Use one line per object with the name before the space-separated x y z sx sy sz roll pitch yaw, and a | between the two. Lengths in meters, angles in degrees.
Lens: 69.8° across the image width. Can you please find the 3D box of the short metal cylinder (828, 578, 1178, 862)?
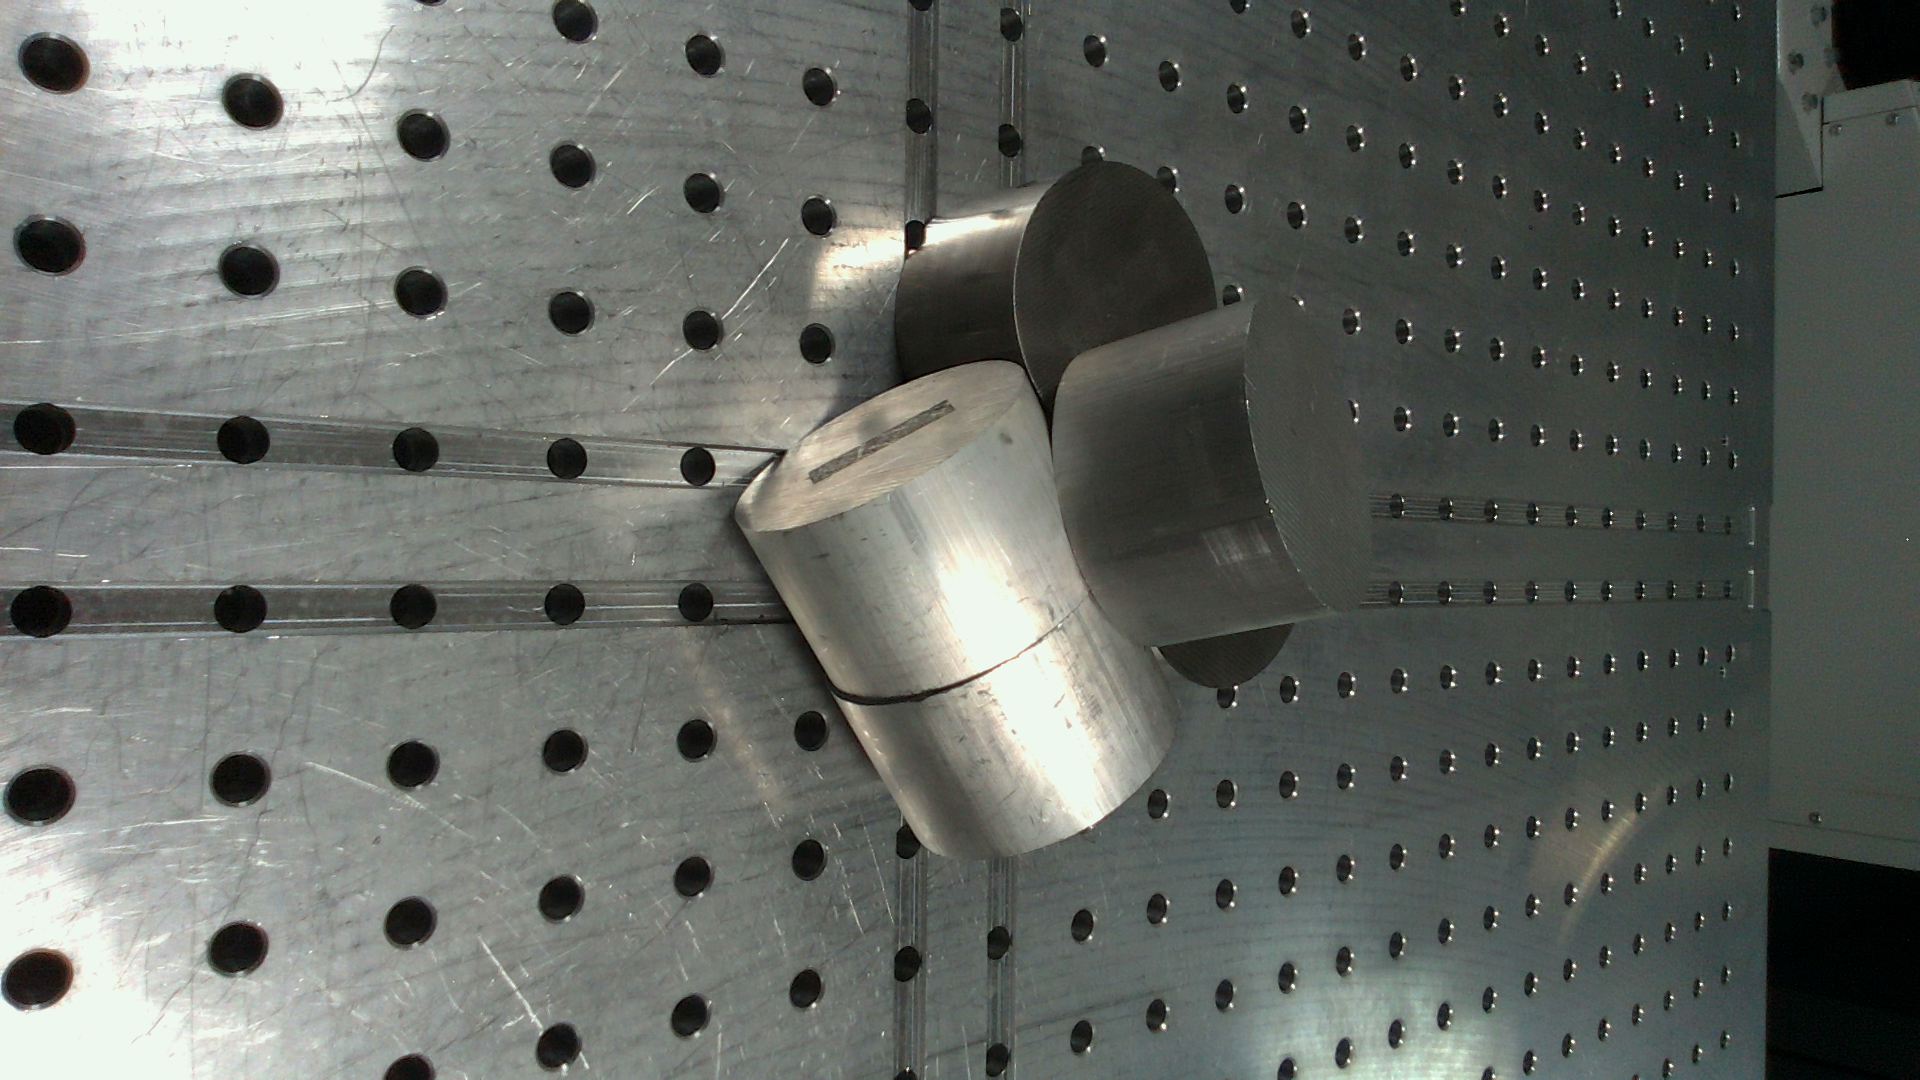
short metal cylinder | 0.011 0.039 0.365 0.080 0.080 0.050 -41 115 -32

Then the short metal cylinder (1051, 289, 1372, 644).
short metal cylinder | 0.065 -0.017 0.346 0.080 0.050 0.080 28 56 -50

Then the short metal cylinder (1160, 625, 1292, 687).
short metal cylinder | 0.063 0.003 0.427 0.080 0.050 0.080 0 90 -40

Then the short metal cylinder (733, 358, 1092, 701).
short metal cylinder | -0.010 -0.004 0.348 0.080 0.080 0.050 -41 115 -32

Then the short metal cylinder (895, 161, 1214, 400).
short metal cylinder | 0.028 -0.064 0.398 0.080 0.050 0.080 0 90 -40
